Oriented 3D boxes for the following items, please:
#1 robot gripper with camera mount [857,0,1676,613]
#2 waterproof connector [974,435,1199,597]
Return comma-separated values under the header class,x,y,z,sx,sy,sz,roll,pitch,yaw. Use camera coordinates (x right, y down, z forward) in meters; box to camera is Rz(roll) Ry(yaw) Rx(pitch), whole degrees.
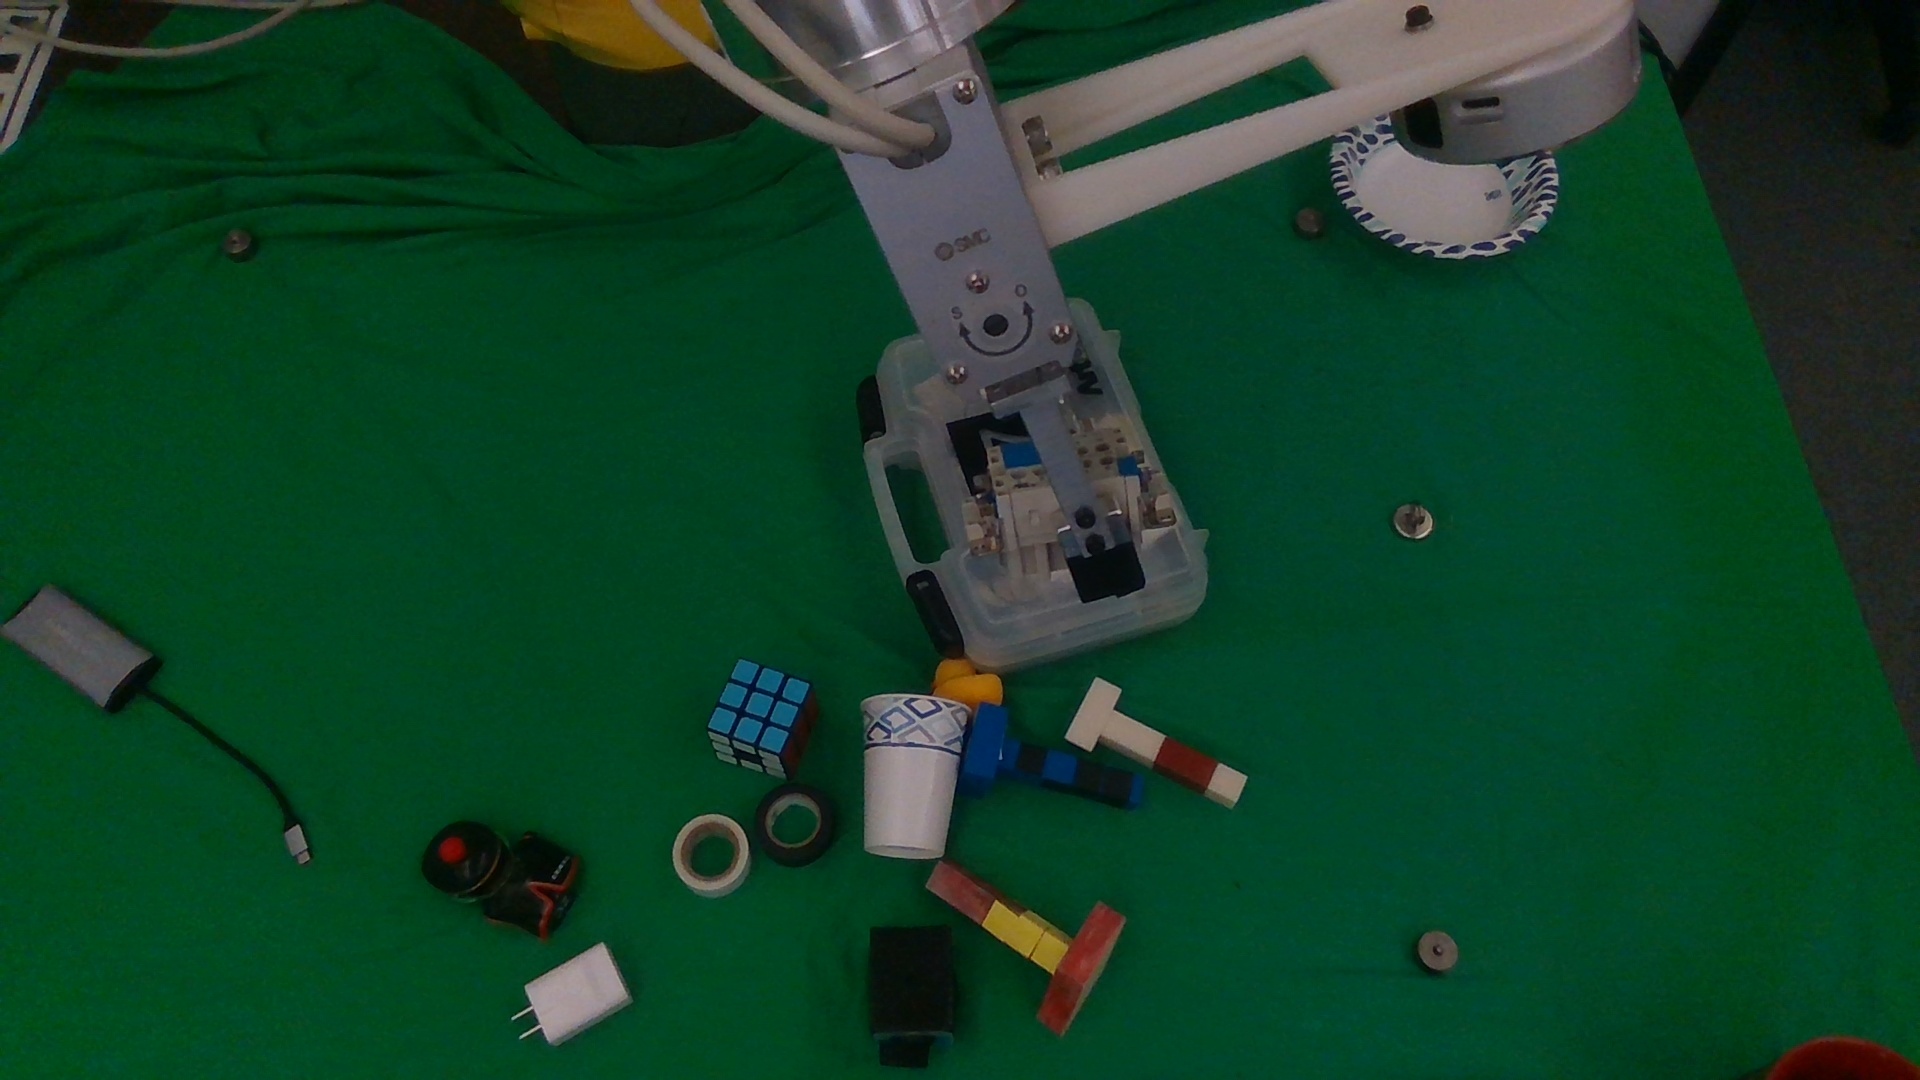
class,x,y,z,sx,sy,sz,roll,pitch,yaw
robot gripper with camera mount,0.091,-0.077,0.382,0.193,0.158,0.119,-18,37,6
waterproof connector,0.037,-0.006,0.422,0.065,0.037,0.035,-10,33,0
